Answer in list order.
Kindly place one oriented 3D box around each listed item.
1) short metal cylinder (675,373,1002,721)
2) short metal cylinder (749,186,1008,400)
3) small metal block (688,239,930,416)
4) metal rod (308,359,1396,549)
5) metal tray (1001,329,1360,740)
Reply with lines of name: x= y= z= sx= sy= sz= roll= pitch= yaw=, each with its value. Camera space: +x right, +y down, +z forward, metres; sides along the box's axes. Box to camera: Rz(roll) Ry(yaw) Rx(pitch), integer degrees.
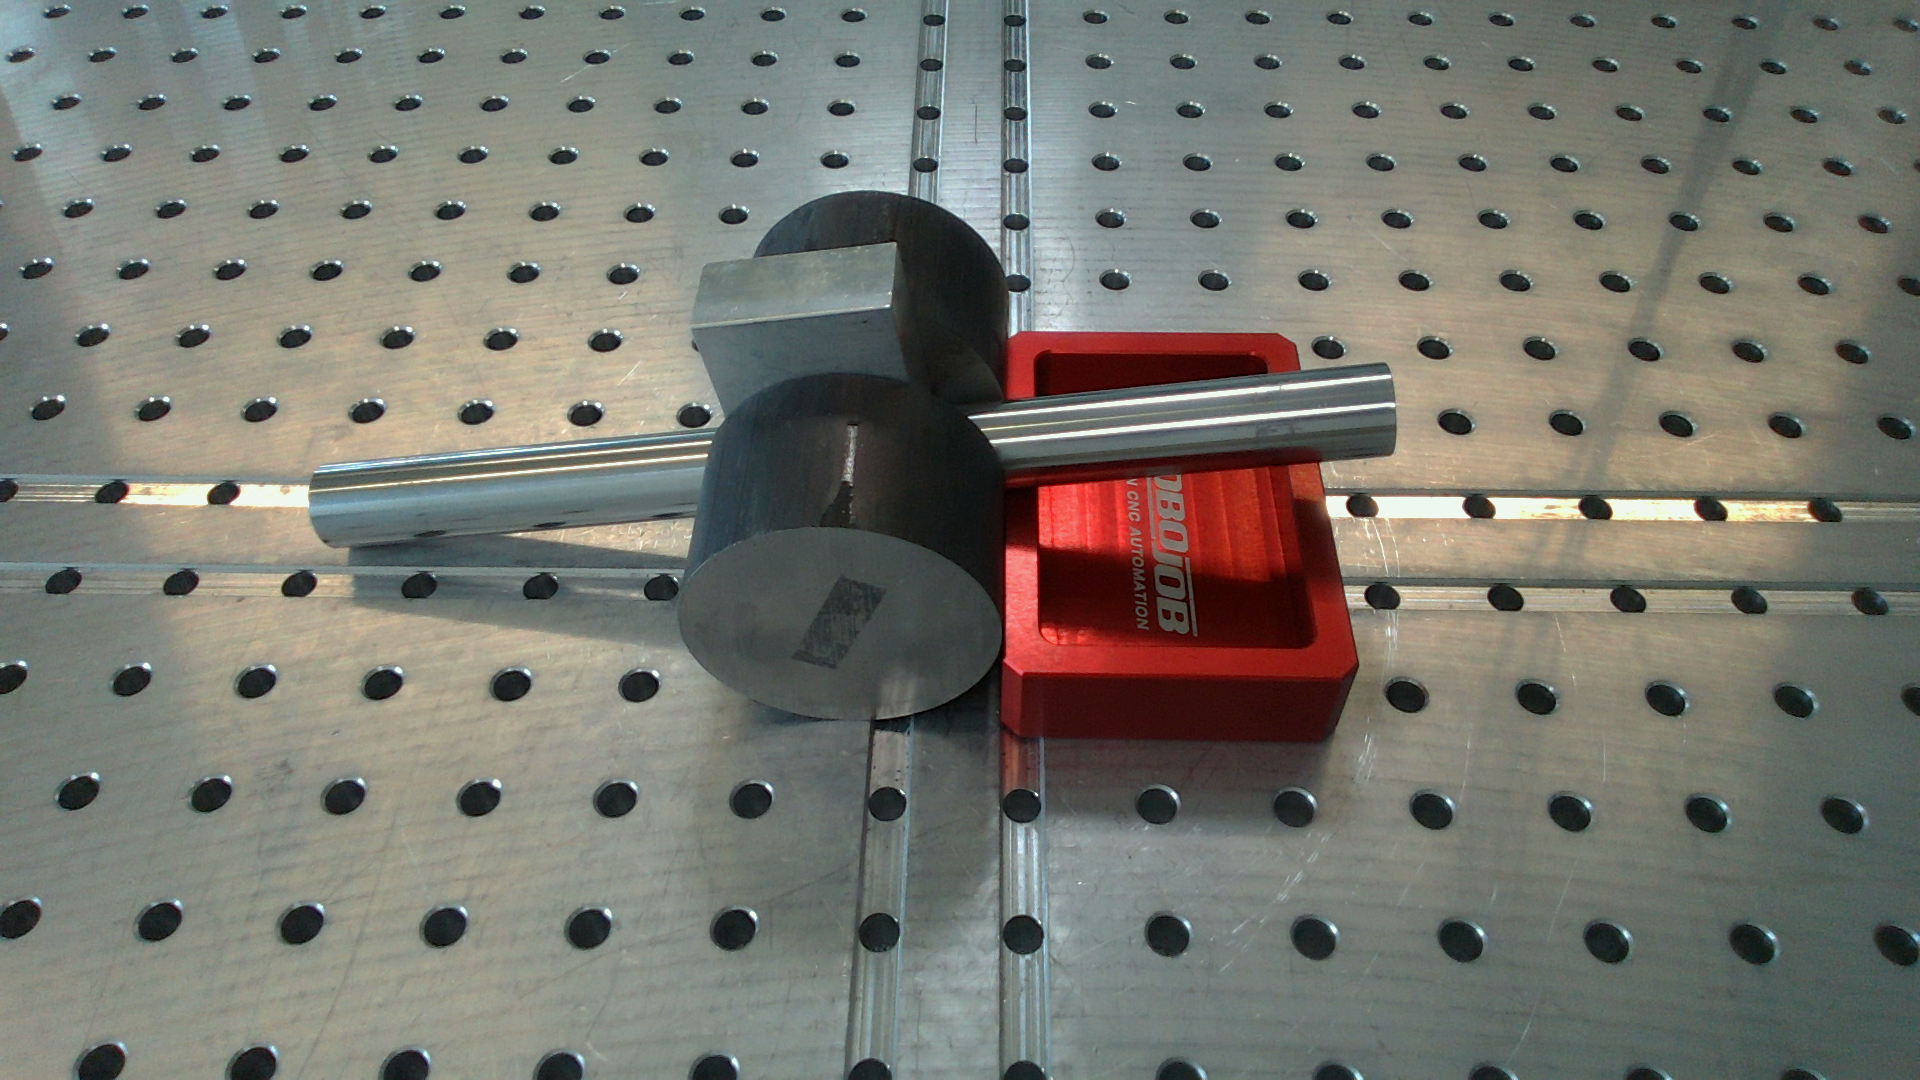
short metal cylinder: x=-0.029 y=0.004 z=0.355 sx=0.080 sy=0.080 sz=0.050 roll=1 pitch=50 yaw=1
short metal cylinder: x=-0.026 y=-0.055 z=0.403 sx=0.080 sy=0.080 sz=0.050 roll=1 pitch=50 yaw=1
small metal block: x=-0.037 y=-0.047 z=0.356 sx=0.050 sy=0.050 sz=0.025 roll=-5 pitch=50 yaw=7
metal rod: x=-0.035 y=-0.023 z=0.383 sx=0.300 sy=0.025 sz=0.025 roll=-5 pitch=49 yaw=7
metal tray: x=0.057 y=-0.006 z=0.396 sx=0.090 sy=0.030 sz=0.130 roll=1 pitch=50 yaw=1
